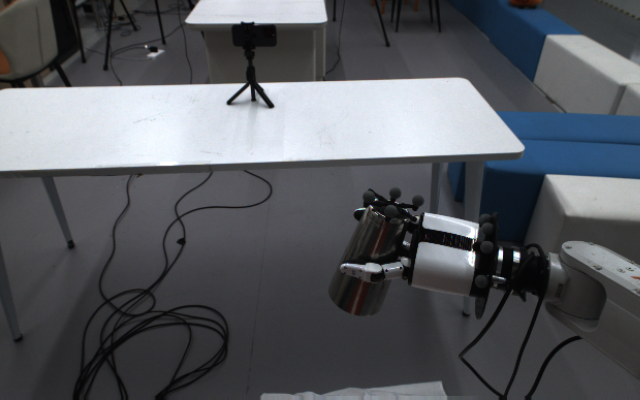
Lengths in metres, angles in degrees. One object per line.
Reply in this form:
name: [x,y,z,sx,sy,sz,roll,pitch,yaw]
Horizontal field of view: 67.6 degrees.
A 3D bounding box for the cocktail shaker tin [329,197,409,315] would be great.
cocktail shaker tin: [0.082,0.083,0.745,0.093,0.170,0.093,12,29,-7]
